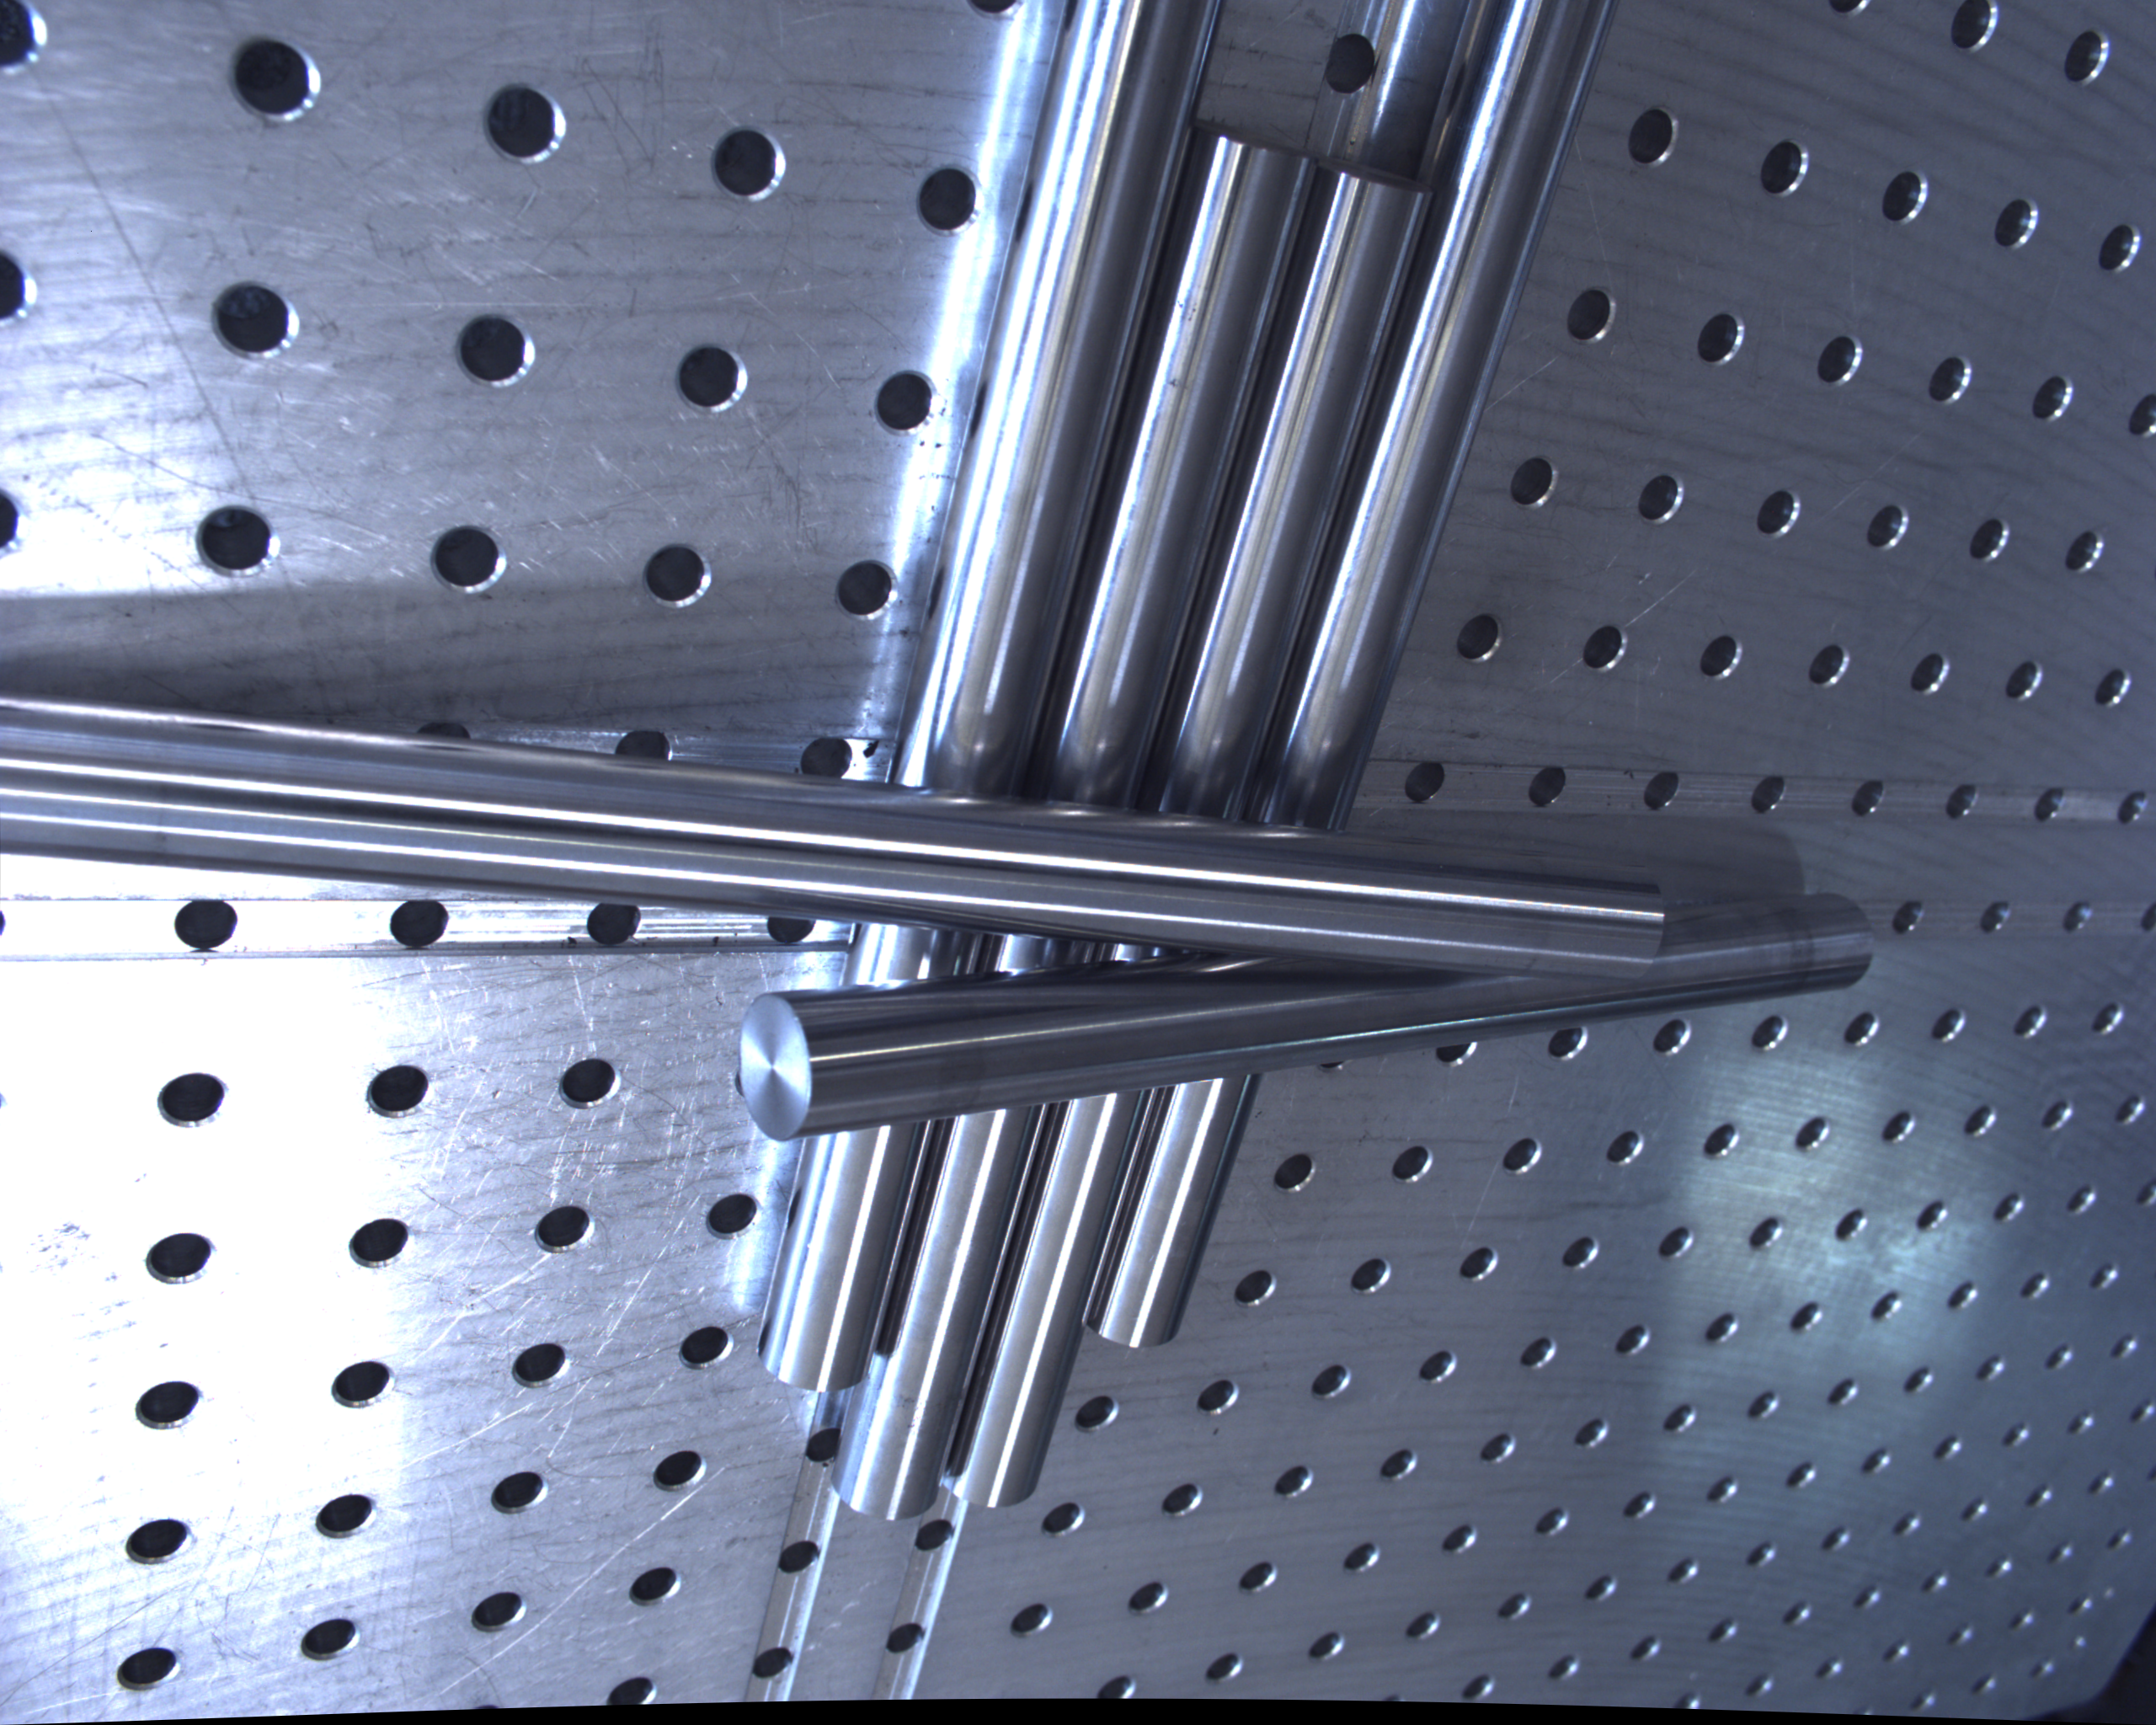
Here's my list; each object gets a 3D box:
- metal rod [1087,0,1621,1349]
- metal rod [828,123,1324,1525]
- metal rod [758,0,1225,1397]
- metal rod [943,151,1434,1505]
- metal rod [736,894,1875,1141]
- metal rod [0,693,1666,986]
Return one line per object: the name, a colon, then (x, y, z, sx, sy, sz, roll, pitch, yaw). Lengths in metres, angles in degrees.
metal rod: (0.048, -0.028, 0.418, 0.025, 0.025, 0.298, 1, 118, -29)
metal rod: (-0.008, 0.009, 0.411, 0.025, 0.025, 0.298, 1, 118, -29)
metal rod: (-0.020, -0.026, 0.383, 0.025, 0.025, 0.298, 1, 118, -29)
metal rod: (0.014, 0.010, 0.425, 0.025, 0.025, 0.298, 1, 118, -29)
metal rod: (0.070, 0.027, 0.438, 0.302, 0.025, 0.025, -3, 120, -37)
metal rod: (-0.031, -0.001, 0.363, 0.302, 0.025, 0.025, 5, 116, -21)
